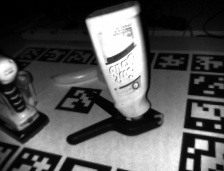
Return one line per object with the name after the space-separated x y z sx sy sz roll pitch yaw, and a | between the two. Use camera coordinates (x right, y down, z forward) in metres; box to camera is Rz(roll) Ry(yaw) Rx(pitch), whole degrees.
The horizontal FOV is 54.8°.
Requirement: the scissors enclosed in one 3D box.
-0.297 -0.051 0.578 0.200 0.016 0.088 29 55 32 | scissors

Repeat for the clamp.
0.011 0.052 0.510 0.201 0.037 0.165 2 42 12 | clamp

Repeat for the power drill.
-0.263 0.001 0.484 0.182 0.188 0.058 12 37 30 | power drill

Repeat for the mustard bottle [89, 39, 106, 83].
-0.017 -0.096 0.608 0.095 0.193 0.059 16 45 28 | mustard bottle

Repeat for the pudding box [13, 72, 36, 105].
-0.281 0.004 0.610 0.113 0.090 0.039 8 35 21 | pudding box

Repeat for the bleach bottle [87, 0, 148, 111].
0.034 -0.037 0.445 0.102 0.253 0.067 -13 34 8 | bleach bottle

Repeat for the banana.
-0.105 -0.063 0.692 0.198 0.039 0.073 -20 22 -13 | banana
